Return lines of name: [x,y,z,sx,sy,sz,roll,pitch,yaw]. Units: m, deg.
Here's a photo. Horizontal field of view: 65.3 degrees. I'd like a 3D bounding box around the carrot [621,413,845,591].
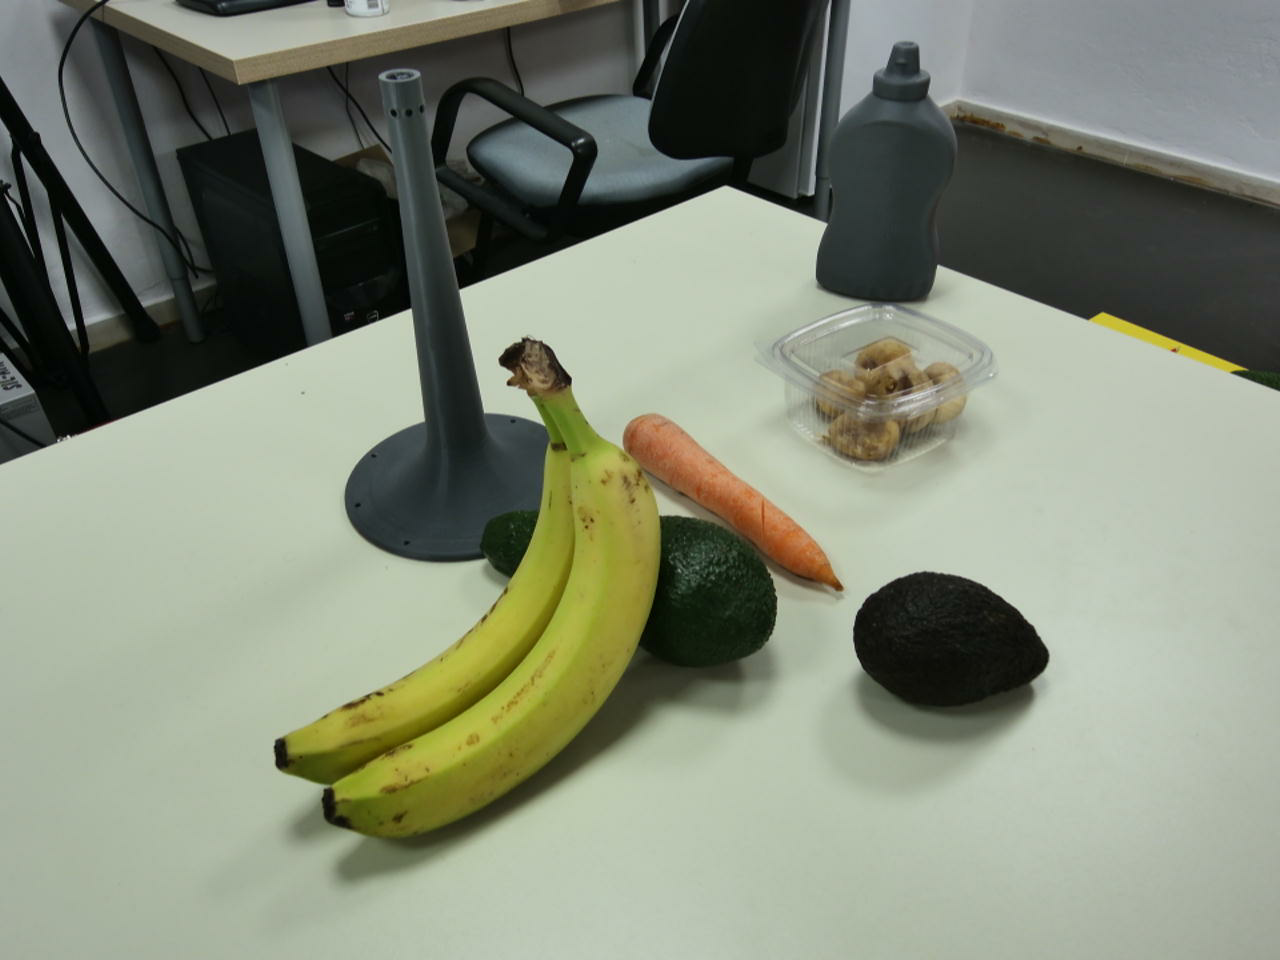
carrot: [0.060,0.010,0.648,0.039,0.041,0.196,-27,45,-32]
